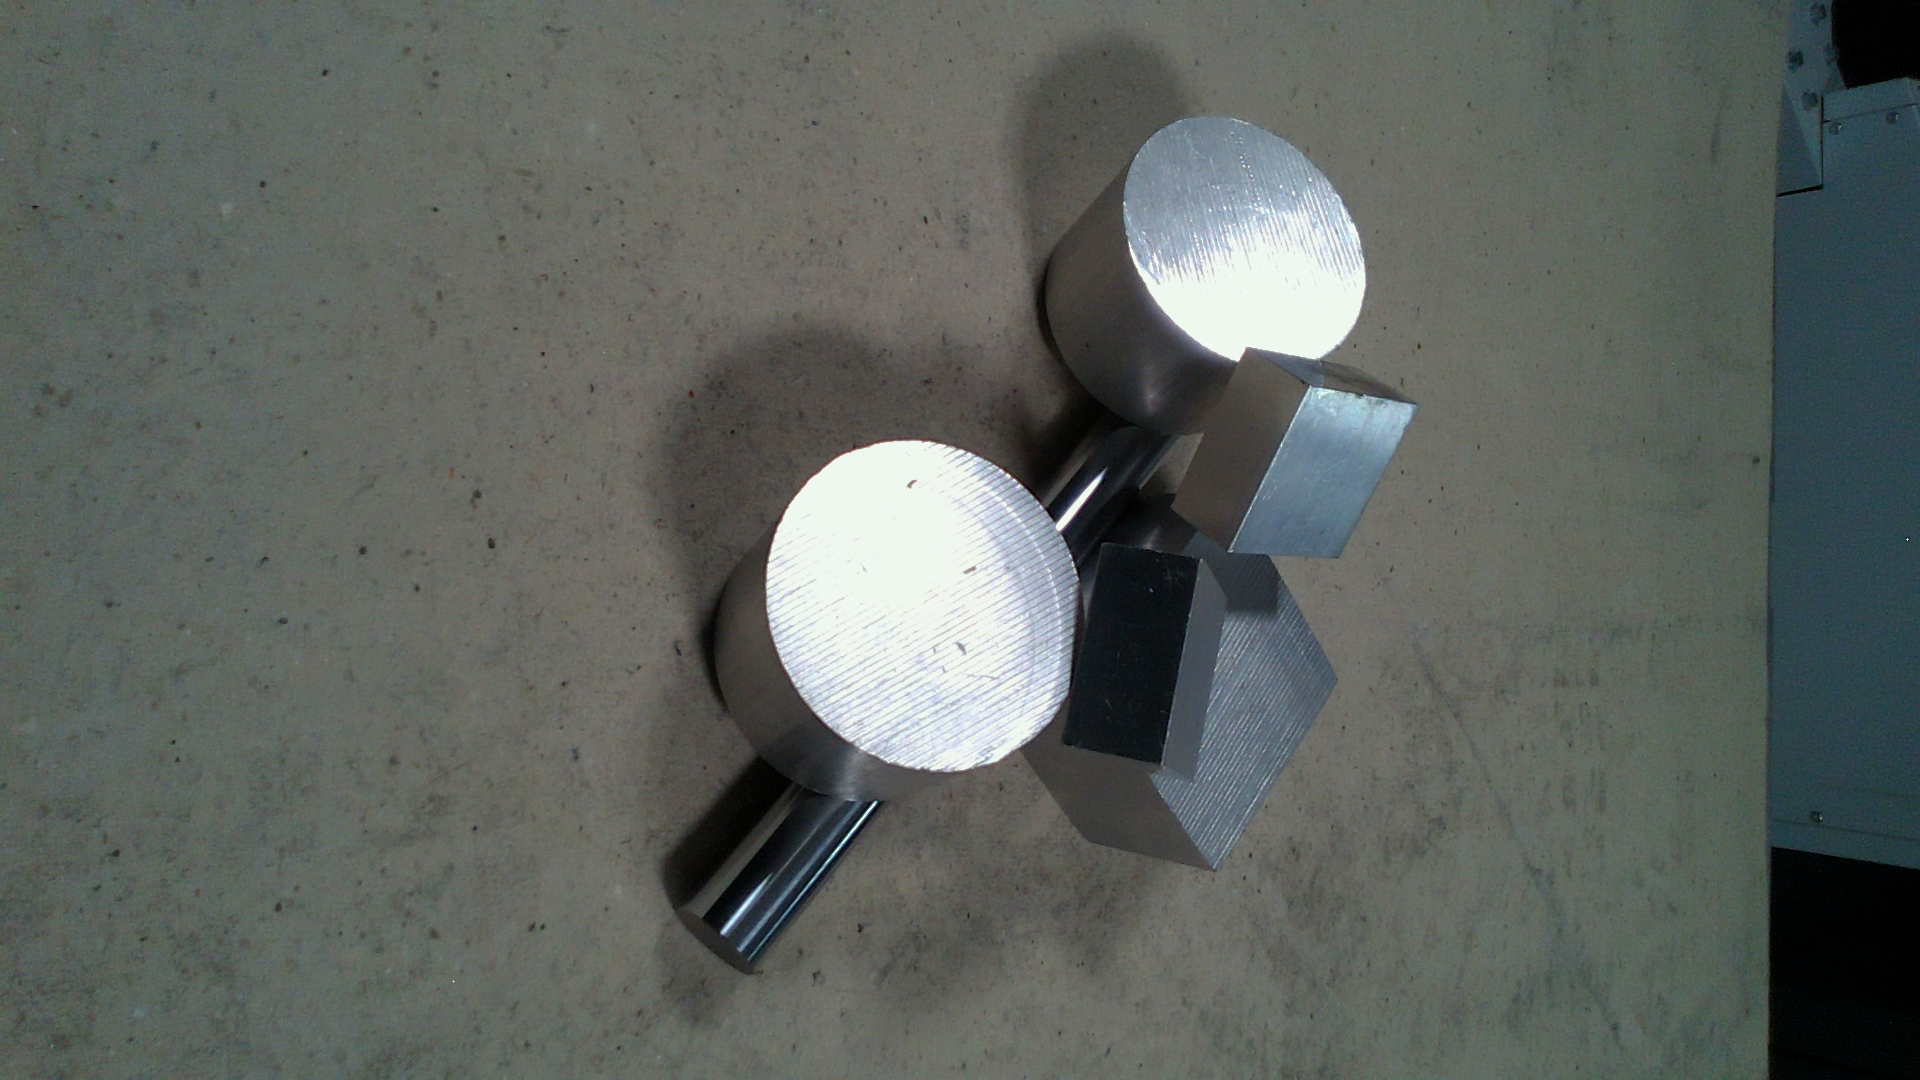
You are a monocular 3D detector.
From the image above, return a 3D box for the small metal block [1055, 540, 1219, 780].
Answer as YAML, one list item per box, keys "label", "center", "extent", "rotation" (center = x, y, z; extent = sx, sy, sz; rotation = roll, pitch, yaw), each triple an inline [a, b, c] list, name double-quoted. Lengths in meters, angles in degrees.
- label: "small metal block"
  center: [0.047, 0.032, 0.348]
  extent: [0.050, 0.025, 0.050]
  rotation: [39, 62, -68]

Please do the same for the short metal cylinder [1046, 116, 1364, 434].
- label: "short metal cylinder"
  center: [0.073, -0.078, 0.414]
  extent: [0.080, 0.050, 0.080]
  rotation: [8, 69, -21]

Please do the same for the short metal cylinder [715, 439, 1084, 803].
- label: "short metal cylinder"
  center: [-0.016, 0.021, 0.342]
  extent: [0.080, 0.050, 0.080]
  rotation: [8, 69, -21]

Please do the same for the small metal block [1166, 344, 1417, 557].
- label: "small metal block"
  center: [0.093, -0.024, 0.385]
  extent: [0.050, 0.025, 0.050]
  rotation: [3, 119, -40]

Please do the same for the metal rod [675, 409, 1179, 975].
- label: "metal rod"
  center: [0.026, -0.001, 0.410]
  extent: [0.301, 0.025, 0.025]
  rotation: [-49, 119, -29]

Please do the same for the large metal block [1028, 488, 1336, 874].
- label: "large metal block"
  center: [0.060, 0.040, 0.421]
  extent: [0.080, 0.050, 0.080]
  rotation: [-49, 119, -29]
